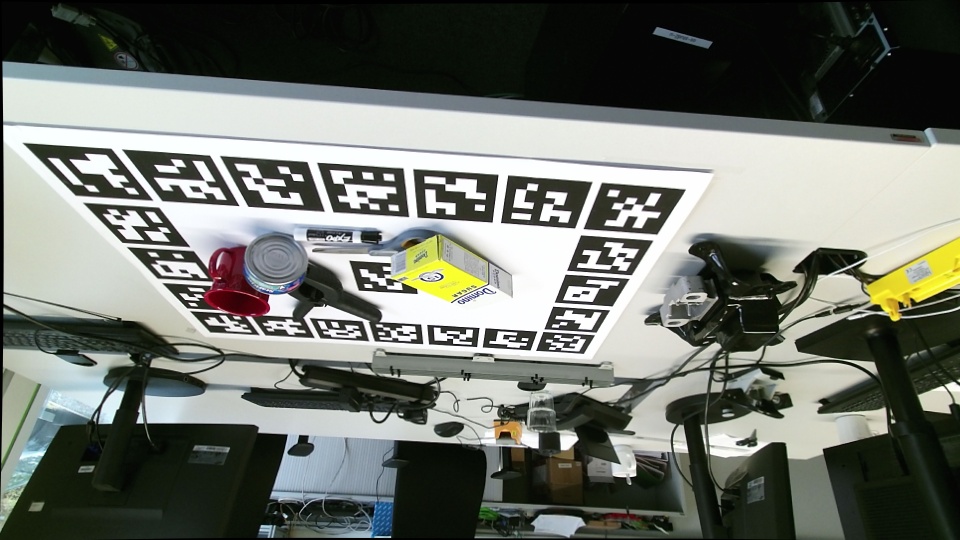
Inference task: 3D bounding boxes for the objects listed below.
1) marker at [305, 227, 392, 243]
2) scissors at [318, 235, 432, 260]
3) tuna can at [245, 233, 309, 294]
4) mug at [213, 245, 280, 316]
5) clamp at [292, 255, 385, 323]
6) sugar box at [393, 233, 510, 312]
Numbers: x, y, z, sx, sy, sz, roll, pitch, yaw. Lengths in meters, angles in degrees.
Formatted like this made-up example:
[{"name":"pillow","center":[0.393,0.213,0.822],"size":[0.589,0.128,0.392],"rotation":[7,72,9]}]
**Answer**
[{"name":"marker","center":[-0.187,-0.050,0.763],"size":[0.121,0.019,0.020],"rotation":[1,147,1]},{"name":"scissors","center":[-0.143,-0.023,0.798],"size":[0.203,0.016,0.088],"rotation":[-1,151,9]},{"name":"tuna can","center":[-0.292,-0.011,0.772],"size":[0.086,0.085,0.034],"rotation":[13,146,-16]},{"name":"mug","center":[-0.354,0.010,0.818],"size":[0.093,0.081,0.117],"rotation":[-11,148,22]},{"name":"clamp","center":[-0.267,0.040,0.913],"size":[0.166,0.036,0.203],"rotation":[-2,146,8]},{"name":"sugar box","center":[-0.038,0.010,0.811],"size":[0.093,0.045,0.177],"rotation":[-18,148,30]}]
